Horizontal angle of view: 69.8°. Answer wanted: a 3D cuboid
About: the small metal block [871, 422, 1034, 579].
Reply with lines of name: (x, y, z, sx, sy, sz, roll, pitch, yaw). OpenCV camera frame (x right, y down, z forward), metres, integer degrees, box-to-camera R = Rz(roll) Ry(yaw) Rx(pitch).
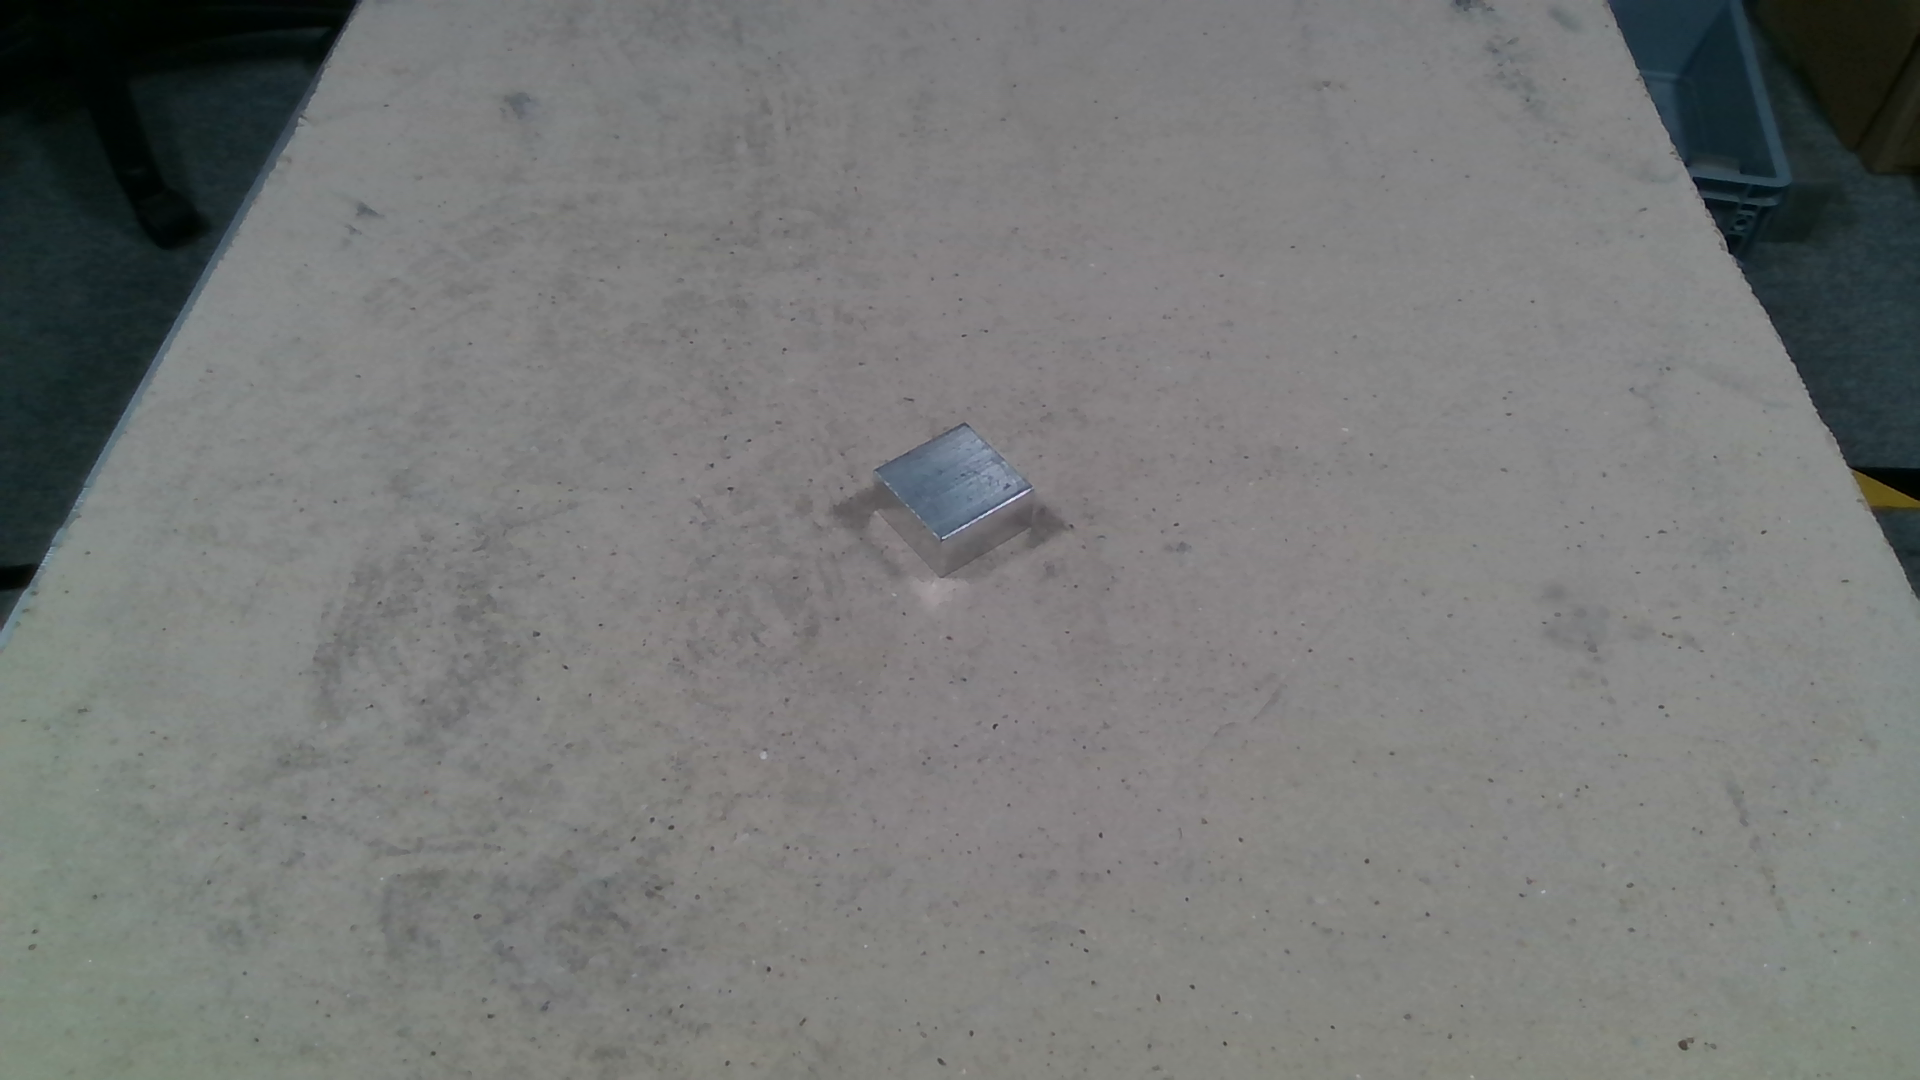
small metal block: (-0.003, -0.018, 0.602, 0.050, 0.025, 0.050, -30, 56, -23)
